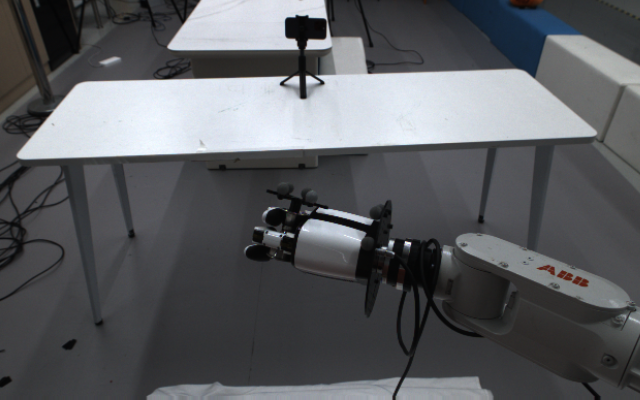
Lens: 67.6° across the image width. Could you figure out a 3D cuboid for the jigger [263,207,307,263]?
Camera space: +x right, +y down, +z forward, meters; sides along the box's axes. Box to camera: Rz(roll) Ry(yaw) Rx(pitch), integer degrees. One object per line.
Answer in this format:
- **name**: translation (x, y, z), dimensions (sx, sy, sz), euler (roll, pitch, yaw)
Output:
- **jigger**: translation (-0.044, 0.048, 0.674), dimensions (0.043, 0.071, 0.043), euler (17, 2, -1)
